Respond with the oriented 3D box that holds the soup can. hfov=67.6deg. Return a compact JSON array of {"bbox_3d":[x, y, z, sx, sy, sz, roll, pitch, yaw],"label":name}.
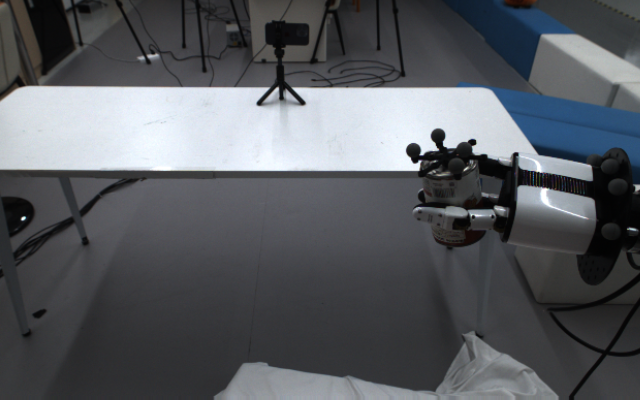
[{"bbox_3d":[0.164,-0.004,0.588,0.067,0.101,0.067,-13,31,8],"label":"soup can"}]
